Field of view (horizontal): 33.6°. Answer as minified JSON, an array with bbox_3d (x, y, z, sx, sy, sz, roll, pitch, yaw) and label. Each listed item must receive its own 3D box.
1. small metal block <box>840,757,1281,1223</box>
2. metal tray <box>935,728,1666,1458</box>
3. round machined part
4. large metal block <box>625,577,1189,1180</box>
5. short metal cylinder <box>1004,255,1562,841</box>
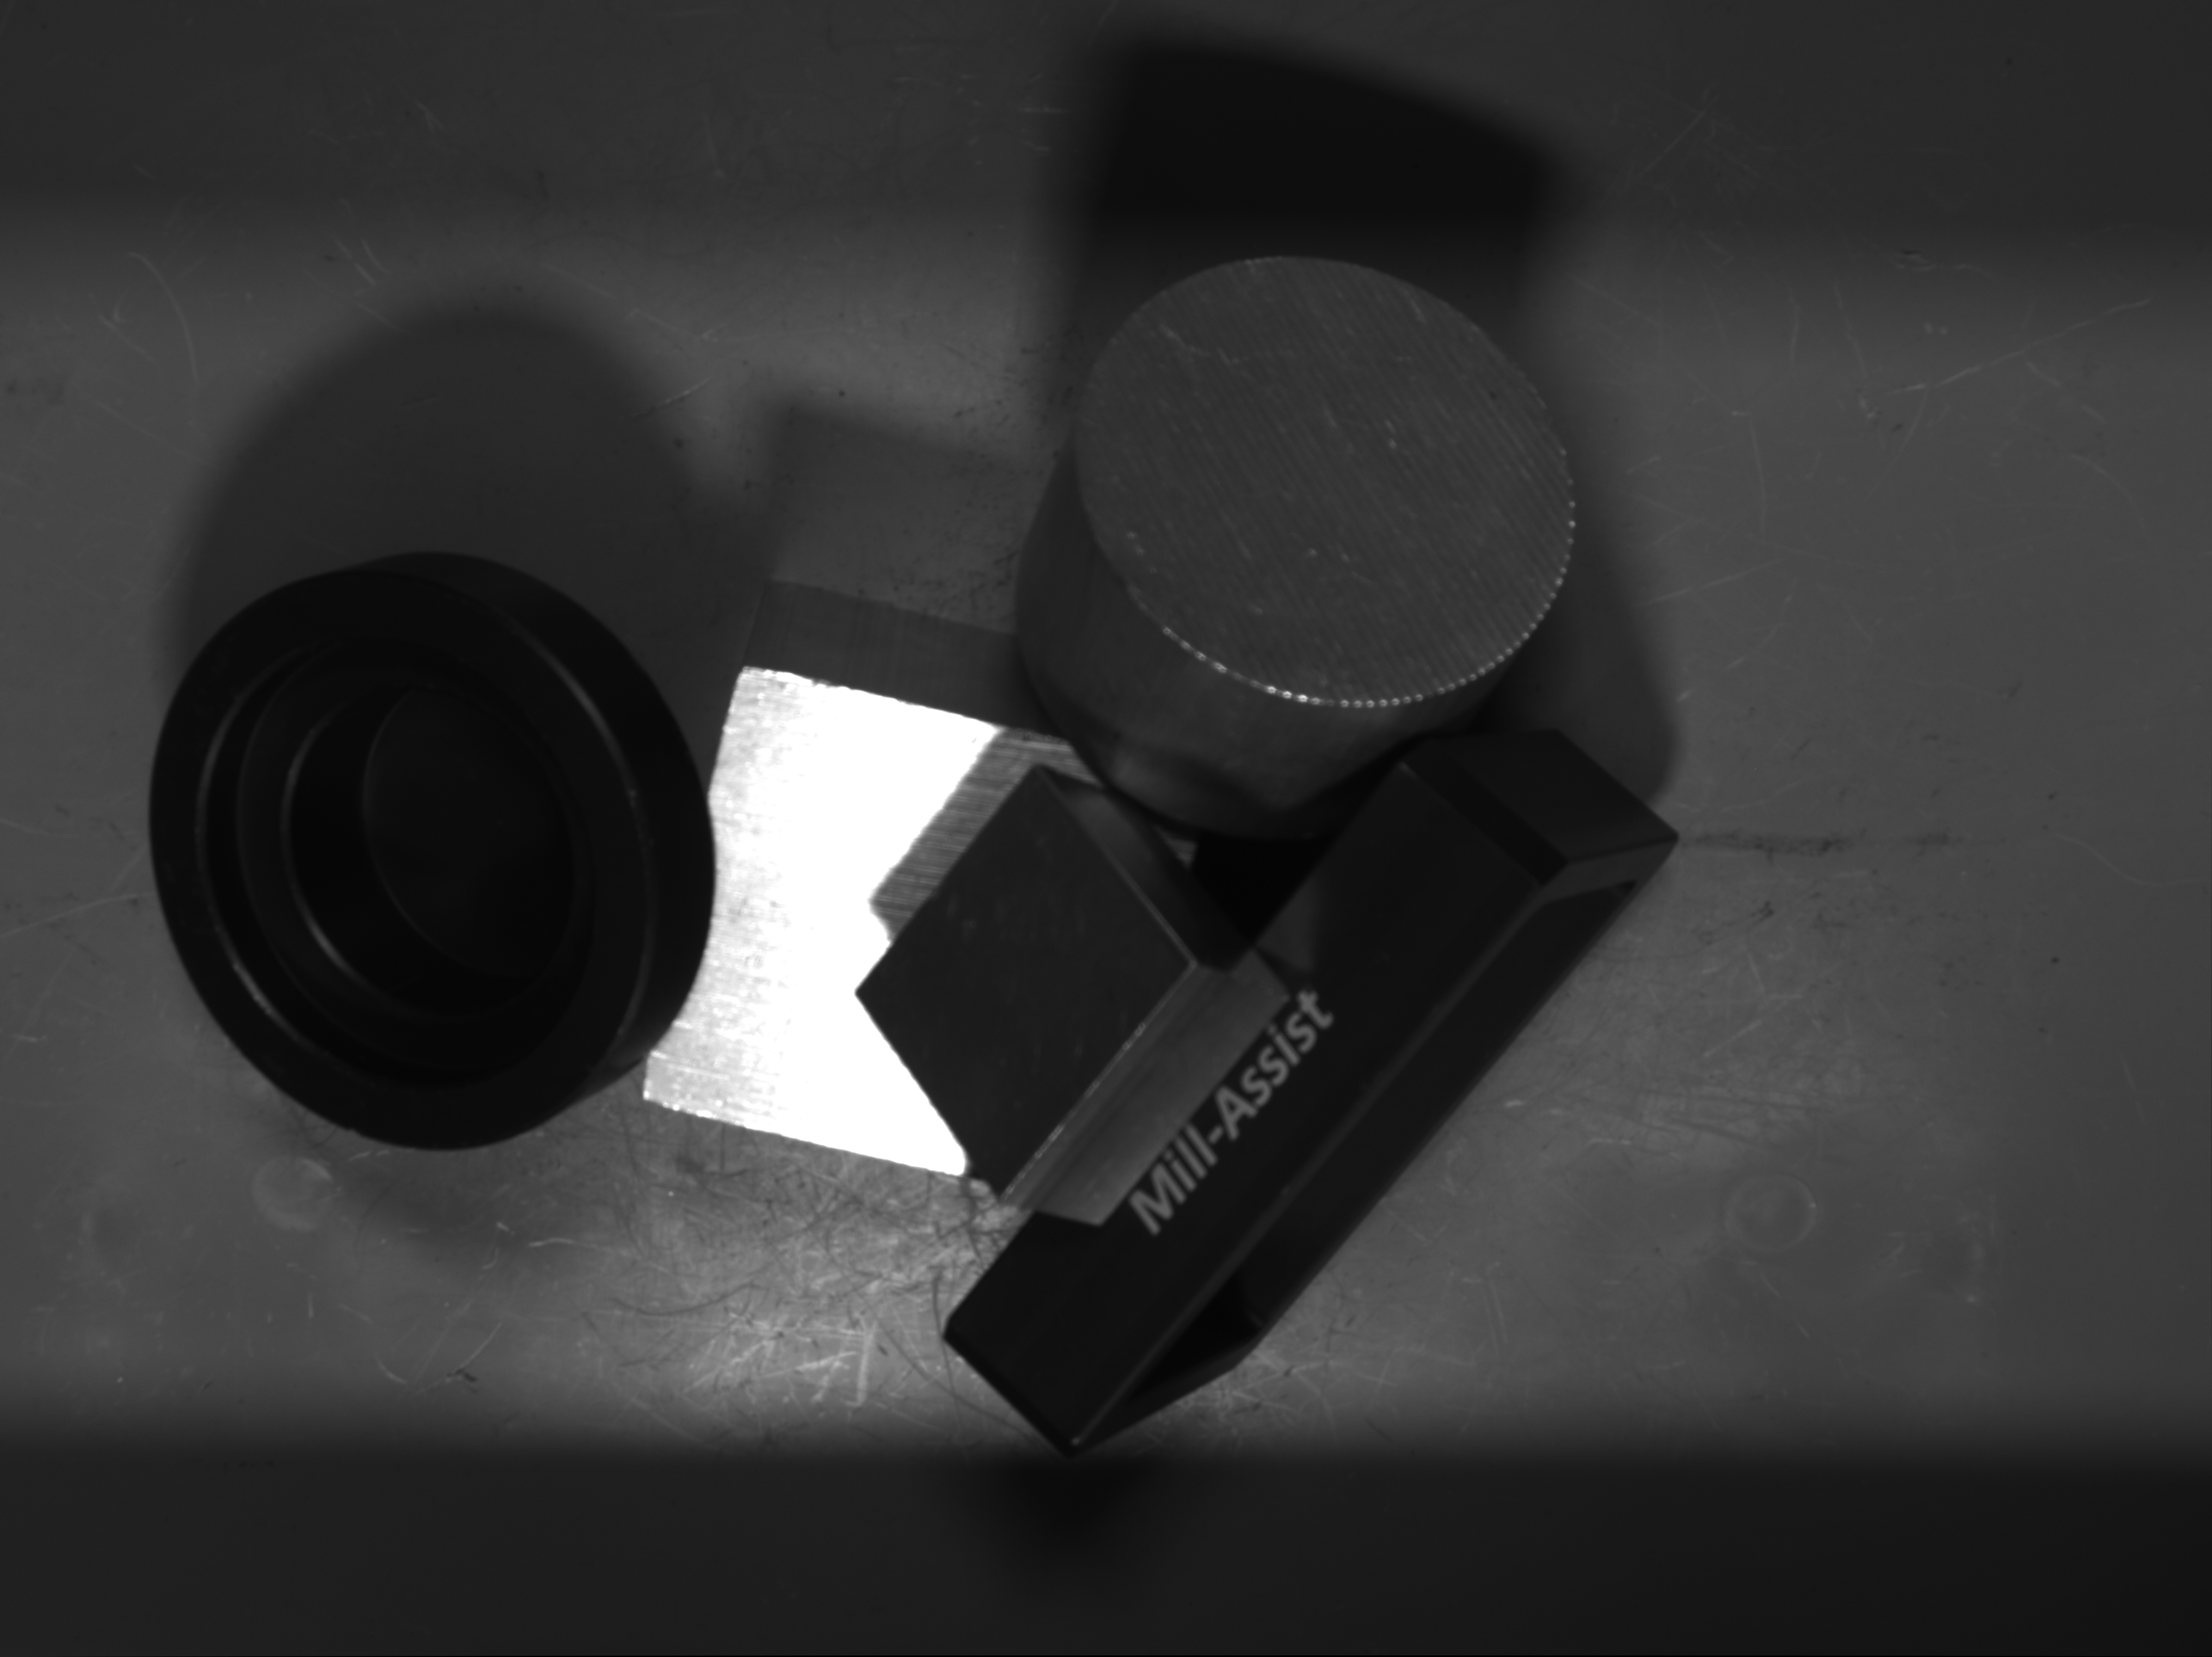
[{"bbox_3d":[-0.008,0.026,0.583,0.025,0.050,0.050,20,114,-48],"label":"small metal block"},{"bbox_3d":[0.035,0.042,0.622,0.030,0.090,0.130,42,106,14],"label":"metal tray"},{"bbox_3d":[-0.111,0.002,0.620,0.098,0.042,0.098,6,105,21],"label":"round machined part"},{"bbox_3d":[-0.032,0.011,0.632,0.080,0.050,0.080,14,109,-6],"label":"large metal block"},{"bbox_3d":[0.027,-0.045,0.590,0.080,0.080,0.050,15,153,-6],"label":"short metal cylinder"}]
